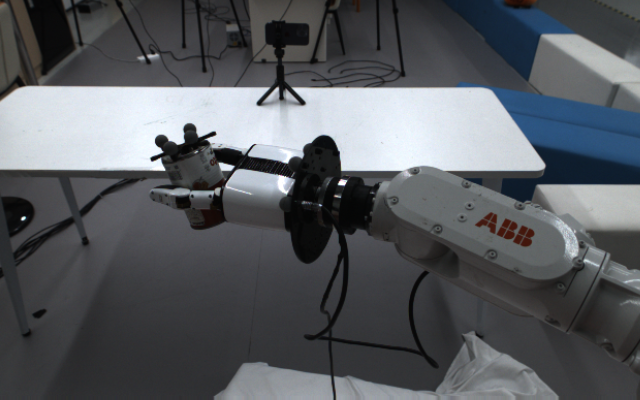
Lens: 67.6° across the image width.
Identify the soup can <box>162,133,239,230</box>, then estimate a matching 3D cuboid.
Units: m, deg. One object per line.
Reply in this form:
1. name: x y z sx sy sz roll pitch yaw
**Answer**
1. soup can: -0.158 -0.019 0.645 0.067 0.101 0.067 -16 23 7
